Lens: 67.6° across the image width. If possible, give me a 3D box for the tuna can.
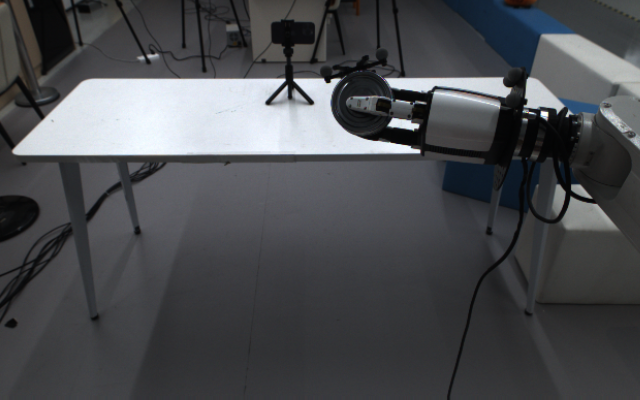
[{"bbox_3d":[0.063,-0.127,0.659,0.085,0.085,0.034,12,3,14],"label":"tuna can"}]
